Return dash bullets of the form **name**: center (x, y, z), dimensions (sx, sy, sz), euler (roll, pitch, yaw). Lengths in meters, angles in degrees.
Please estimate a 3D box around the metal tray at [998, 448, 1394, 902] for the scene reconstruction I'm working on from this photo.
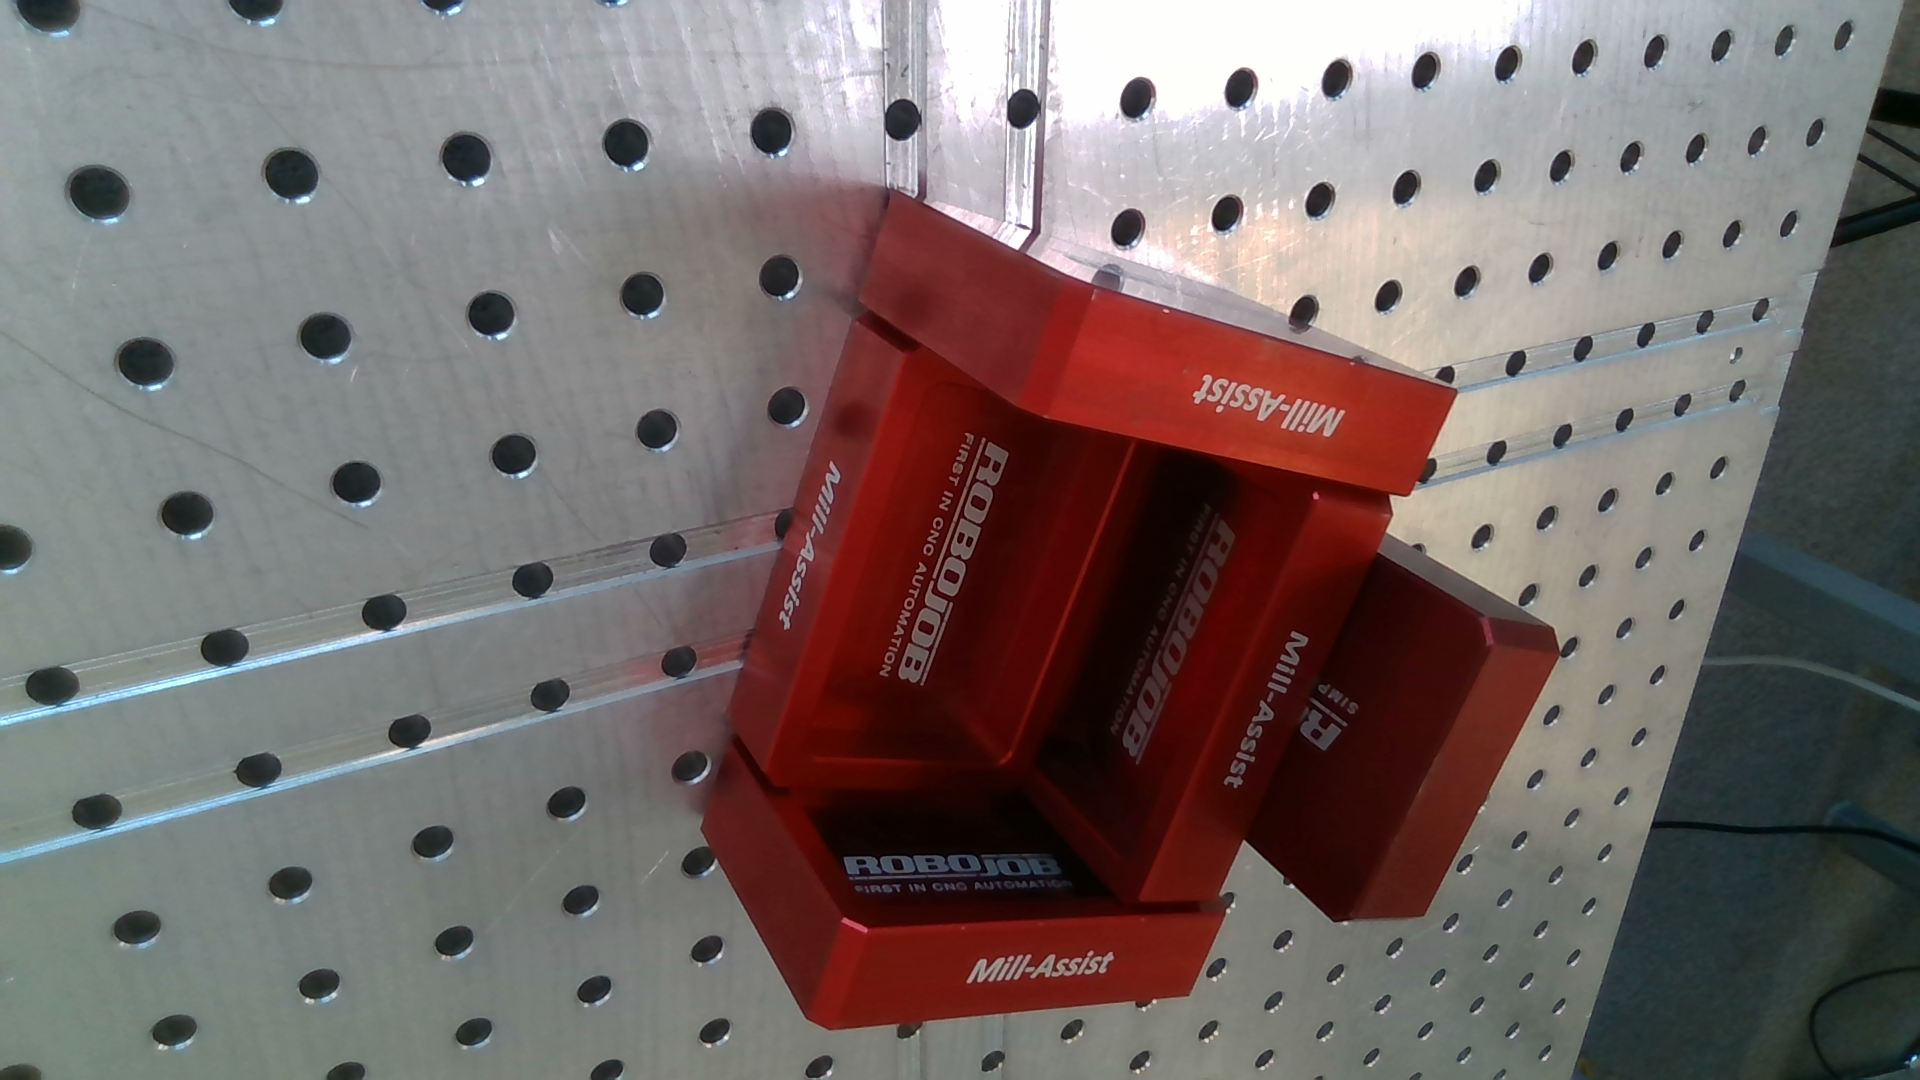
- **metal tray**: center (0.060, 0.027, 0.401), dimensions (0.030, 0.090, 0.130), euler (8, 111, -34)

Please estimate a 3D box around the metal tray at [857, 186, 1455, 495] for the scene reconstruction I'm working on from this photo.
- **metal tray**: center (0.050, -0.051, 0.353), dimensions (0.130, 0.090, 0.030), euler (8, 111, -35)

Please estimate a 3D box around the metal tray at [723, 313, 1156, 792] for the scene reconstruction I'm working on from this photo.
- **metal tray**: center (-0.004, 0.008, 0.390), dimensions (0.090, 0.030, 0.130), euler (8, 110, -34)

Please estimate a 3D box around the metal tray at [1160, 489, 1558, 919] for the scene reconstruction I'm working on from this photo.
- **metal tray**: center (0.096, 0.036, 0.402), dimensions (0.030, 0.130, 0.090), euler (9, 110, -34)

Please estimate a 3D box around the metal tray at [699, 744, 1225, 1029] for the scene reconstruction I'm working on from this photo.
- **metal tray**: center (0.001, 0.095, 0.401), dimensions (0.130, 0.090, 0.030), euler (8, 110, -34)
